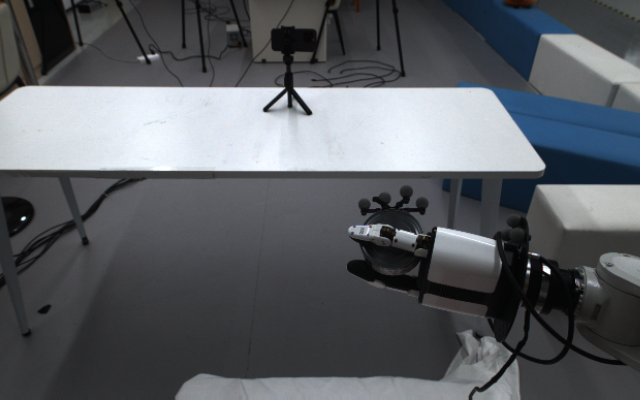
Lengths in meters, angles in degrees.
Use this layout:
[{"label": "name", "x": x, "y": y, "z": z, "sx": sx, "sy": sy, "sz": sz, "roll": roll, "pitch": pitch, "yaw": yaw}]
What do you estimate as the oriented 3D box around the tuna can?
[{"label": "tuna can", "x": 0.098, "y": 0.056, "z": 0.649, "sx": 0.085, "sy": 0.034, "sz": 0.085, "roll": -6, "pitch": 61, "yaw": 10}]
